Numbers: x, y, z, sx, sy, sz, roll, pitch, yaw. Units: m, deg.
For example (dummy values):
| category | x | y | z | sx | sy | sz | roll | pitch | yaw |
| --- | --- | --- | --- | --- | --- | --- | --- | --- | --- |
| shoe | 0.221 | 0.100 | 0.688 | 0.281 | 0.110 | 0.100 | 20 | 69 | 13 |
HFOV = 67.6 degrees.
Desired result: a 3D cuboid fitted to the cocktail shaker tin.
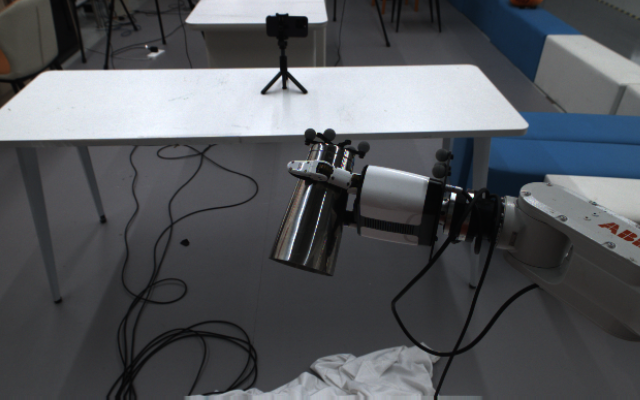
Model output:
| category | x | y | z | sx | sy | sz | roll | pitch | yaw |
| --- | --- | --- | --- | --- | --- | --- | --- | --- | --- |
| cocktail shaker tin | -0.002 | 0.009 | 0.674 | 0.093 | 0.093 | 0.170 | 13 | 77 | 15 |
